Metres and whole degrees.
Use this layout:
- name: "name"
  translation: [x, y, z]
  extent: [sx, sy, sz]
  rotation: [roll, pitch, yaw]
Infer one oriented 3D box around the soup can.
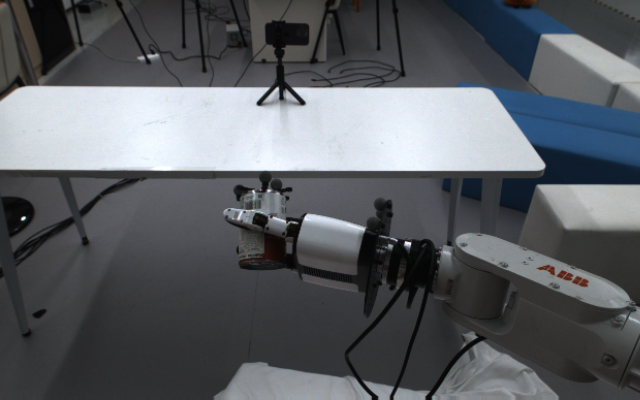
- name: "soup can"
  translation: [-0.078, 0.043, 0.678]
  extent: [0.067, 0.067, 0.101]
  rotation: [-2, 71, -5]
